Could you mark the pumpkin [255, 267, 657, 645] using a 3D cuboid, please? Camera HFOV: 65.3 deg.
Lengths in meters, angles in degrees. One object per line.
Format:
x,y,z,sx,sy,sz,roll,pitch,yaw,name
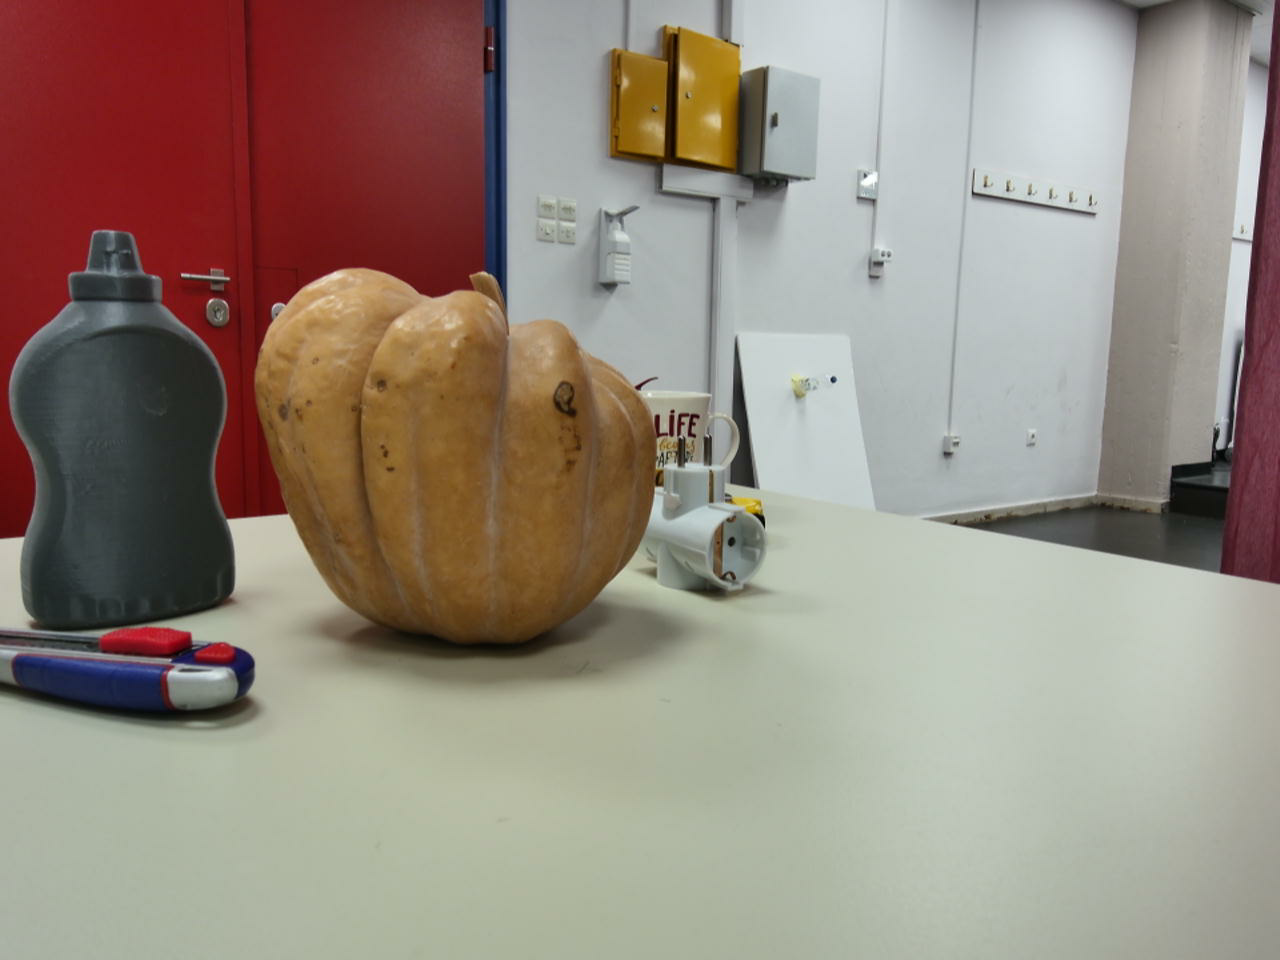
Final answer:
-0.088,-0.012,0.491,0.199,0.177,0.198,1,6,0,pumpkin
